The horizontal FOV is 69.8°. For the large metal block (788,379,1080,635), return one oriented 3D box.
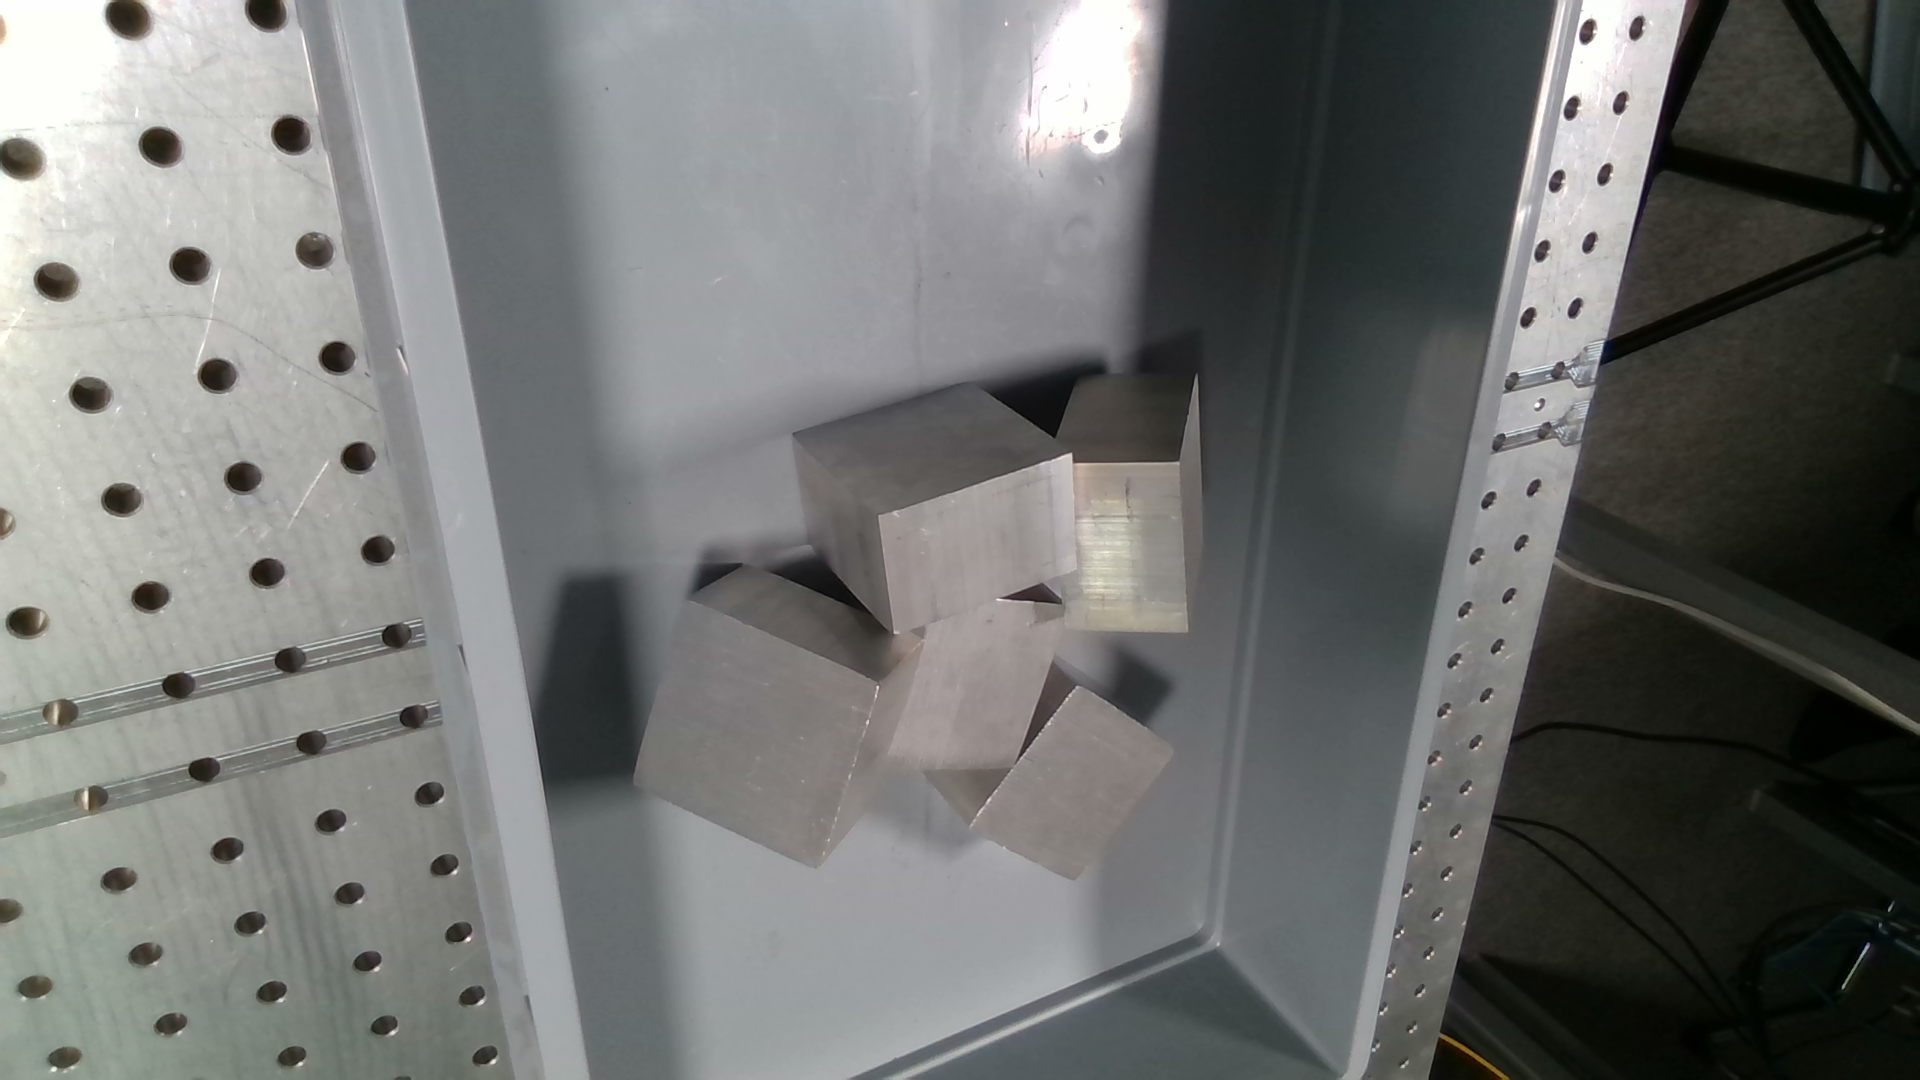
[{"bbox_3d":[-0.010,-0.016,0.529,0.080,0.080,0.050,-20,123,-22],"label":"large metal block"}]

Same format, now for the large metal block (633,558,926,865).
[{"bbox_3d":[-0.069,0.064,0.528,0.050,0.080,0.080,-38,149,-68],"label":"large metal block"}]

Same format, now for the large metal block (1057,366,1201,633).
[{"bbox_3d":[0.071,-0.018,0.570,0.050,0.080,0.080,1,122,15],"label":"large metal block"}]

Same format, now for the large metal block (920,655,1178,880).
[{"bbox_3d":[0.041,0.101,0.643,0.080,0.050,0.080,35,94,-39],"label":"large metal block"}]

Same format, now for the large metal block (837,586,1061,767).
[{"bbox_3d":[-0.011,0.048,0.584,0.080,0.050,0.080,5,112,-33],"label":"large metal block"}]
